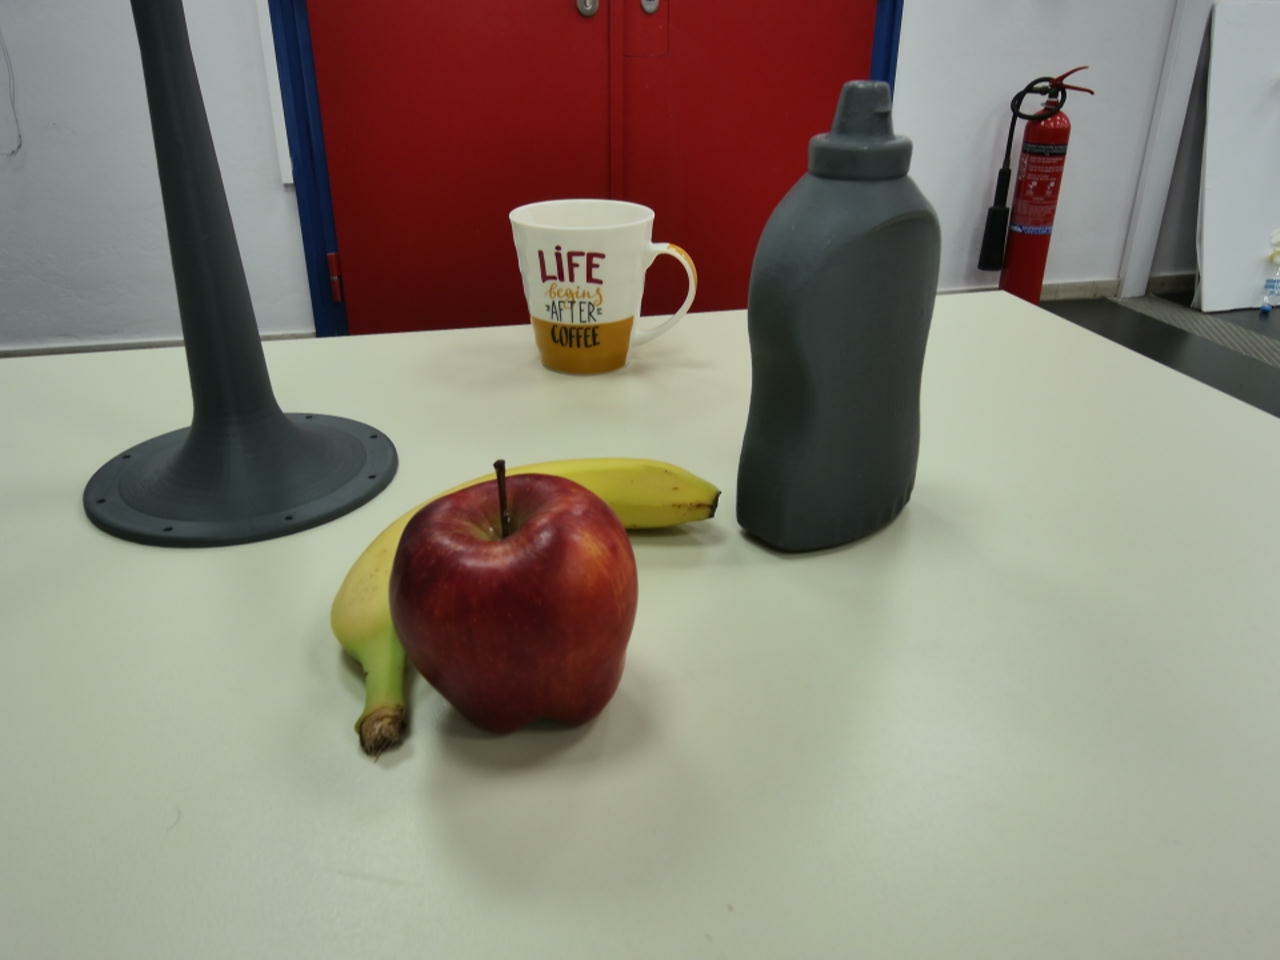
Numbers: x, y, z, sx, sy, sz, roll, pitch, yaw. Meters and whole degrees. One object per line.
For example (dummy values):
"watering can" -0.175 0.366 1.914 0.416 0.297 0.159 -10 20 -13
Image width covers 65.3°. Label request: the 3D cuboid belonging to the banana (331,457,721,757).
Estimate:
"banana" -0.057 0.030 0.412 0.094 0.041 0.196 19 31 36
